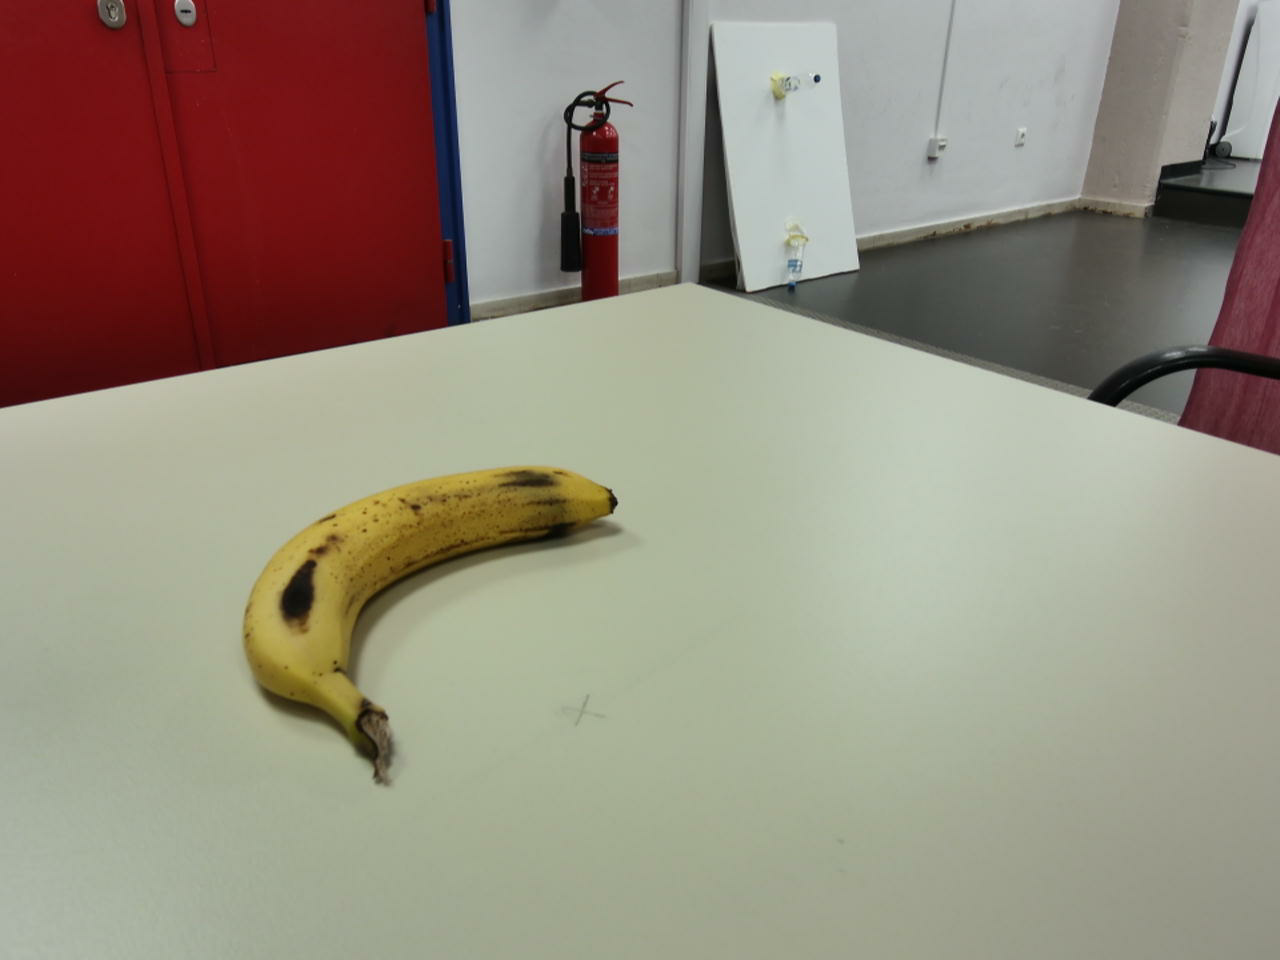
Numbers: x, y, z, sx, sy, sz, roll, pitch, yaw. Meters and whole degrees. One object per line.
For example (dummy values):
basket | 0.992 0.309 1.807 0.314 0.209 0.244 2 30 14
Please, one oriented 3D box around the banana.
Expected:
banana | -0.089 0.034 0.407 0.097 0.038 0.186 10 25 21
